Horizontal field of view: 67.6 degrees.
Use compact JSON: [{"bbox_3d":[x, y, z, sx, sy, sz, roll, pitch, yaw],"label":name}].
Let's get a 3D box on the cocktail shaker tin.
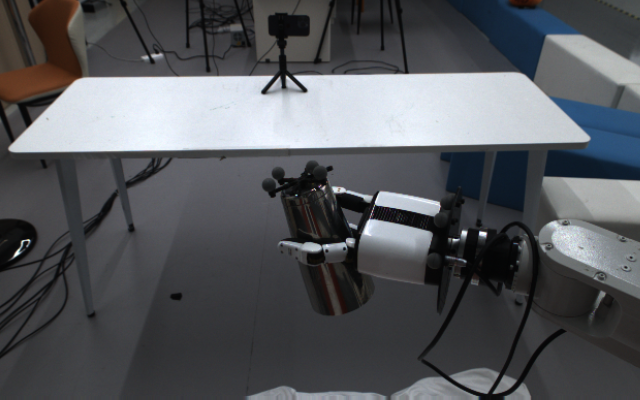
[{"bbox_3d":[0.006,0.058,0.645,0.093,0.170,0.093,-17,21,7],"label":"cocktail shaker tin"}]
